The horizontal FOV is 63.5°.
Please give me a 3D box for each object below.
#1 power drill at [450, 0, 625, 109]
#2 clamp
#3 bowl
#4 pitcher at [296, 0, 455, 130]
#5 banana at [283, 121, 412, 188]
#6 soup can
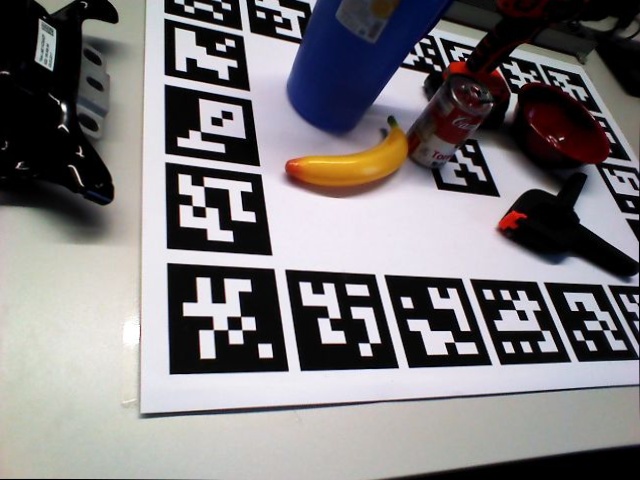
[{"bbox_3d":[0.277,-0.258,0.682,0.184,0.188,0.057,-2,61,-27],"label":"power drill"},{"bbox_3d":[0.327,-0.026,0.668,0.202,0.037,0.164,0,64,-25],"label":"clamp"},{"bbox_3d":[0.355,-0.160,0.764,0.161,0.055,0.160,11,57,-18],"label":"bowl"},{"bbox_3d":[0.069,-0.243,0.563,0.187,0.244,0.133,-22,68,-34],"label":"pitcher"},{"bbox_3d":[0.046,-0.094,0.591,0.196,0.039,0.074,-23,63,-36],"label":"banana"},{"bbox_3d":[0.163,-0.148,0.638,0.068,0.103,0.067,13,47,-15],"label":"soup can"}]
